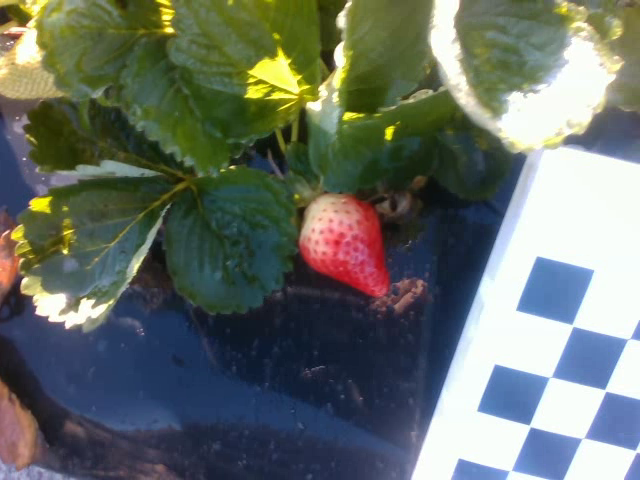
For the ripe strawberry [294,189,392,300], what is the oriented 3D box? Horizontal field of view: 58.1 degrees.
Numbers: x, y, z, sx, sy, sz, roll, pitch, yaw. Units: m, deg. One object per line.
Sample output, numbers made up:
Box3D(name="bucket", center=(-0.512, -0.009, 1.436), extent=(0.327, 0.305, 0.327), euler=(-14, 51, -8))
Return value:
Box3D(name="ripe strawberry", center=(0.012, 0.009, 0.281), extent=(0.040, 0.065, 0.040), euler=(-35, 10, 9))
